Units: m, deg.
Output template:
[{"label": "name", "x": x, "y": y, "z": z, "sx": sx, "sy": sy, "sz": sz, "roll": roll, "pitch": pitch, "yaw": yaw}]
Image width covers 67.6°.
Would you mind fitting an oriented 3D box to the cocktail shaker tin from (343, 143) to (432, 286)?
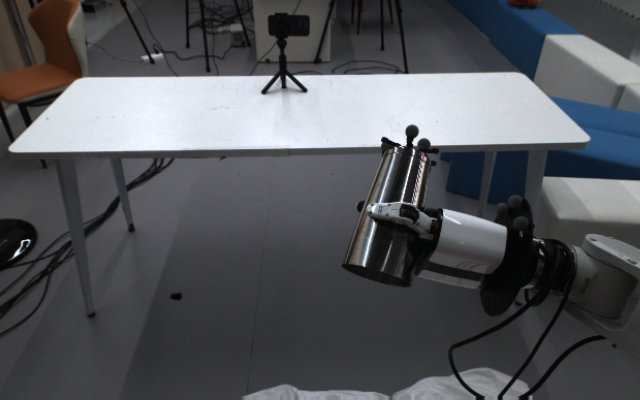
[{"label": "cocktail shaker tin", "x": 0.096, "y": 0.019, "z": 0.639, "sx": 0.093, "sy": 0.093, "sz": 0.170, "roll": 14, "pitch": 74, "yaw": 16}]
